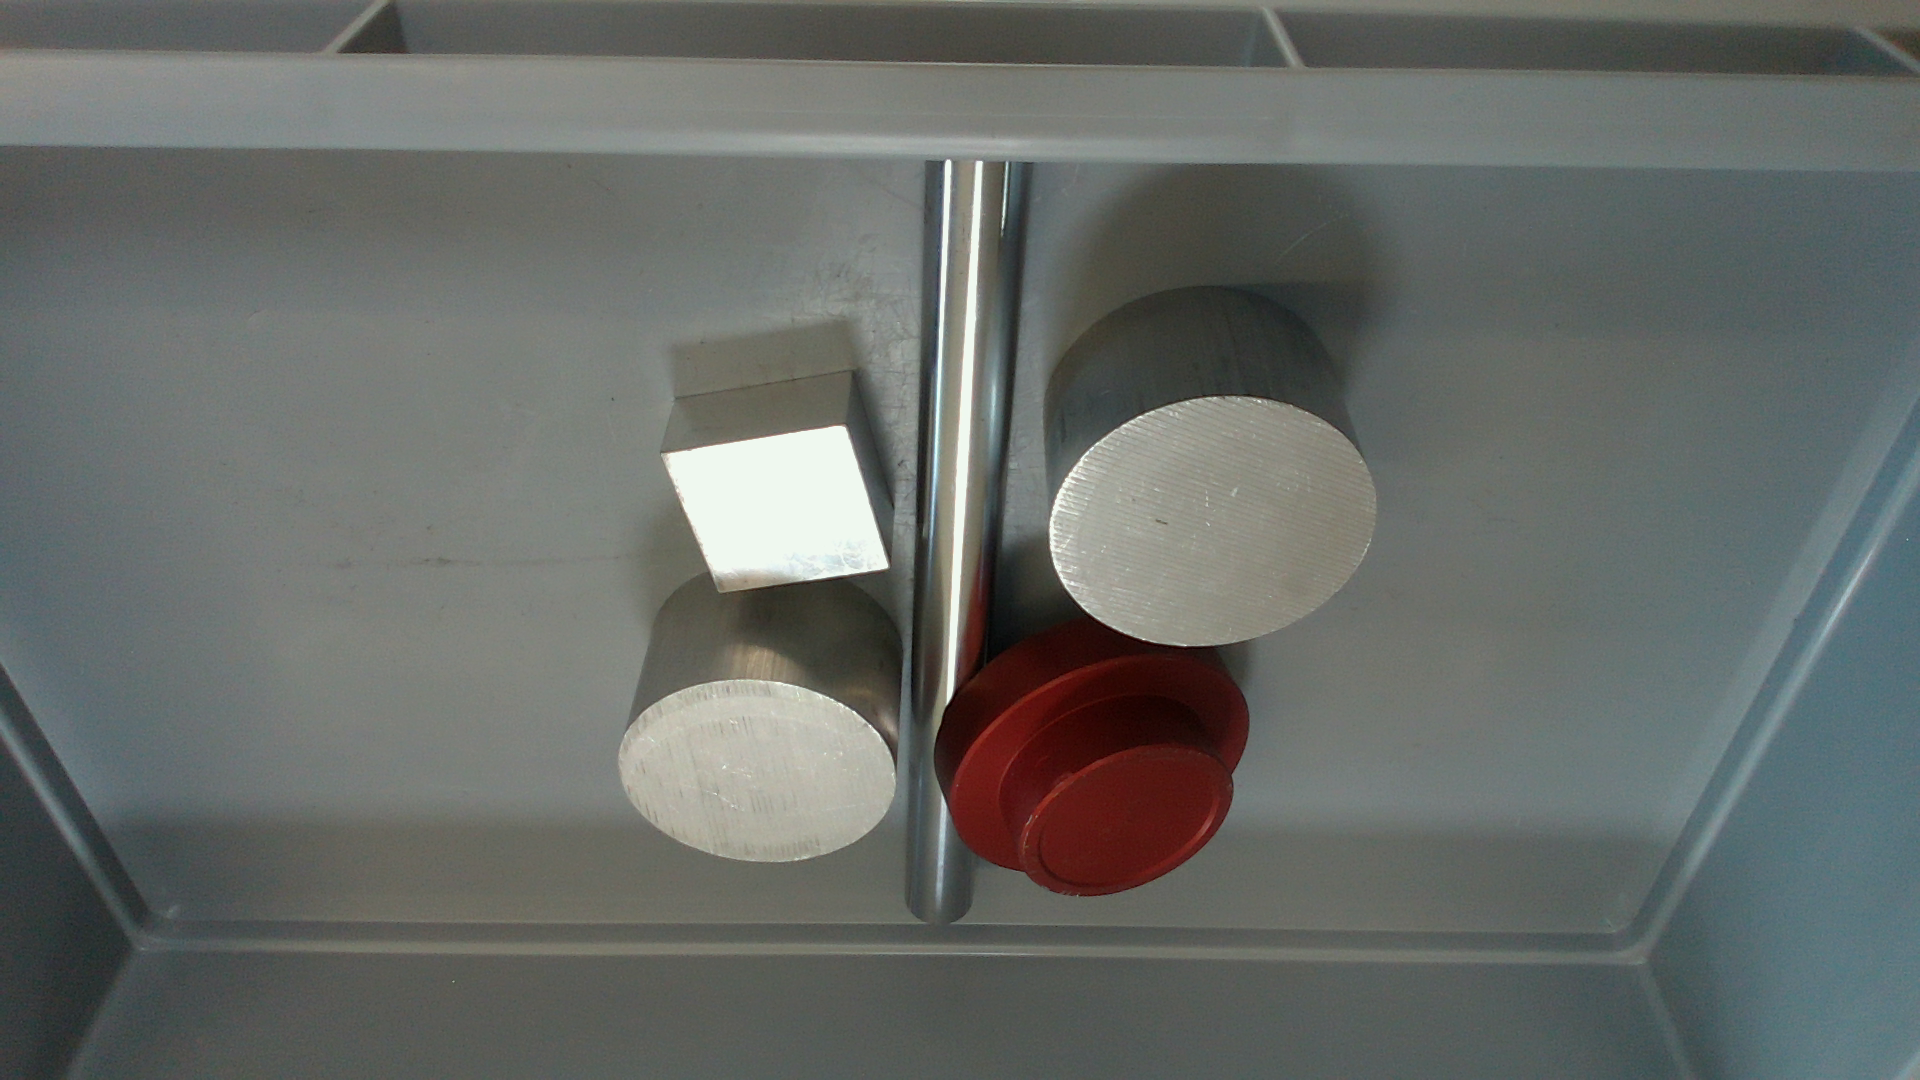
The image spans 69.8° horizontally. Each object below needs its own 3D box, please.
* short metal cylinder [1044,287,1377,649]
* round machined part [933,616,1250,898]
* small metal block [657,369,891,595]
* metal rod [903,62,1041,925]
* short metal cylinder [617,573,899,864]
[{"bbox_3d":[0.062,-0.018,0.357,0.080,0.050,0.080,0,130,0],"label":"short metal cylinder"},{"bbox_3d":[0.044,0.072,0.422,0.098,0.042,0.098,-11,131,-12],"label":"round machined part"},{"bbox_3d":[-0.048,-0.015,0.375,0.050,0.025,0.050,-9,130,7],"label":"small metal block"},{"bbox_3d":[-0.001,0.014,0.400,0.025,0.025,0.300,2,130,-2],"label":"metal rod"},{"bbox_3d":[-0.058,0.053,0.416,0.080,0.050,0.080,0,130,0],"label":"short metal cylinder"}]
